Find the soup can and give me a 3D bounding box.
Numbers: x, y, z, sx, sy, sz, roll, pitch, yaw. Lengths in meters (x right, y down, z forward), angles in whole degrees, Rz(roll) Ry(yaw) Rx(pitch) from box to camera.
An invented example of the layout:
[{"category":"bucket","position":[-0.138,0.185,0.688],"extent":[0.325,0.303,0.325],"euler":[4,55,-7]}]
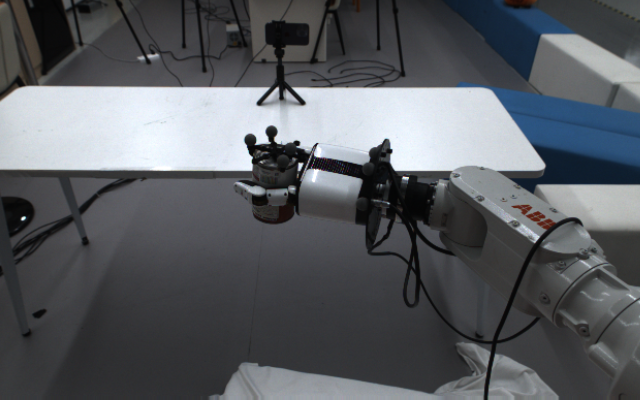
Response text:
[{"category":"soup can","position":[-0.068,-0.023,0.721],"extent":[0.067,0.101,0.067],"euler":[5,37,-4]}]
